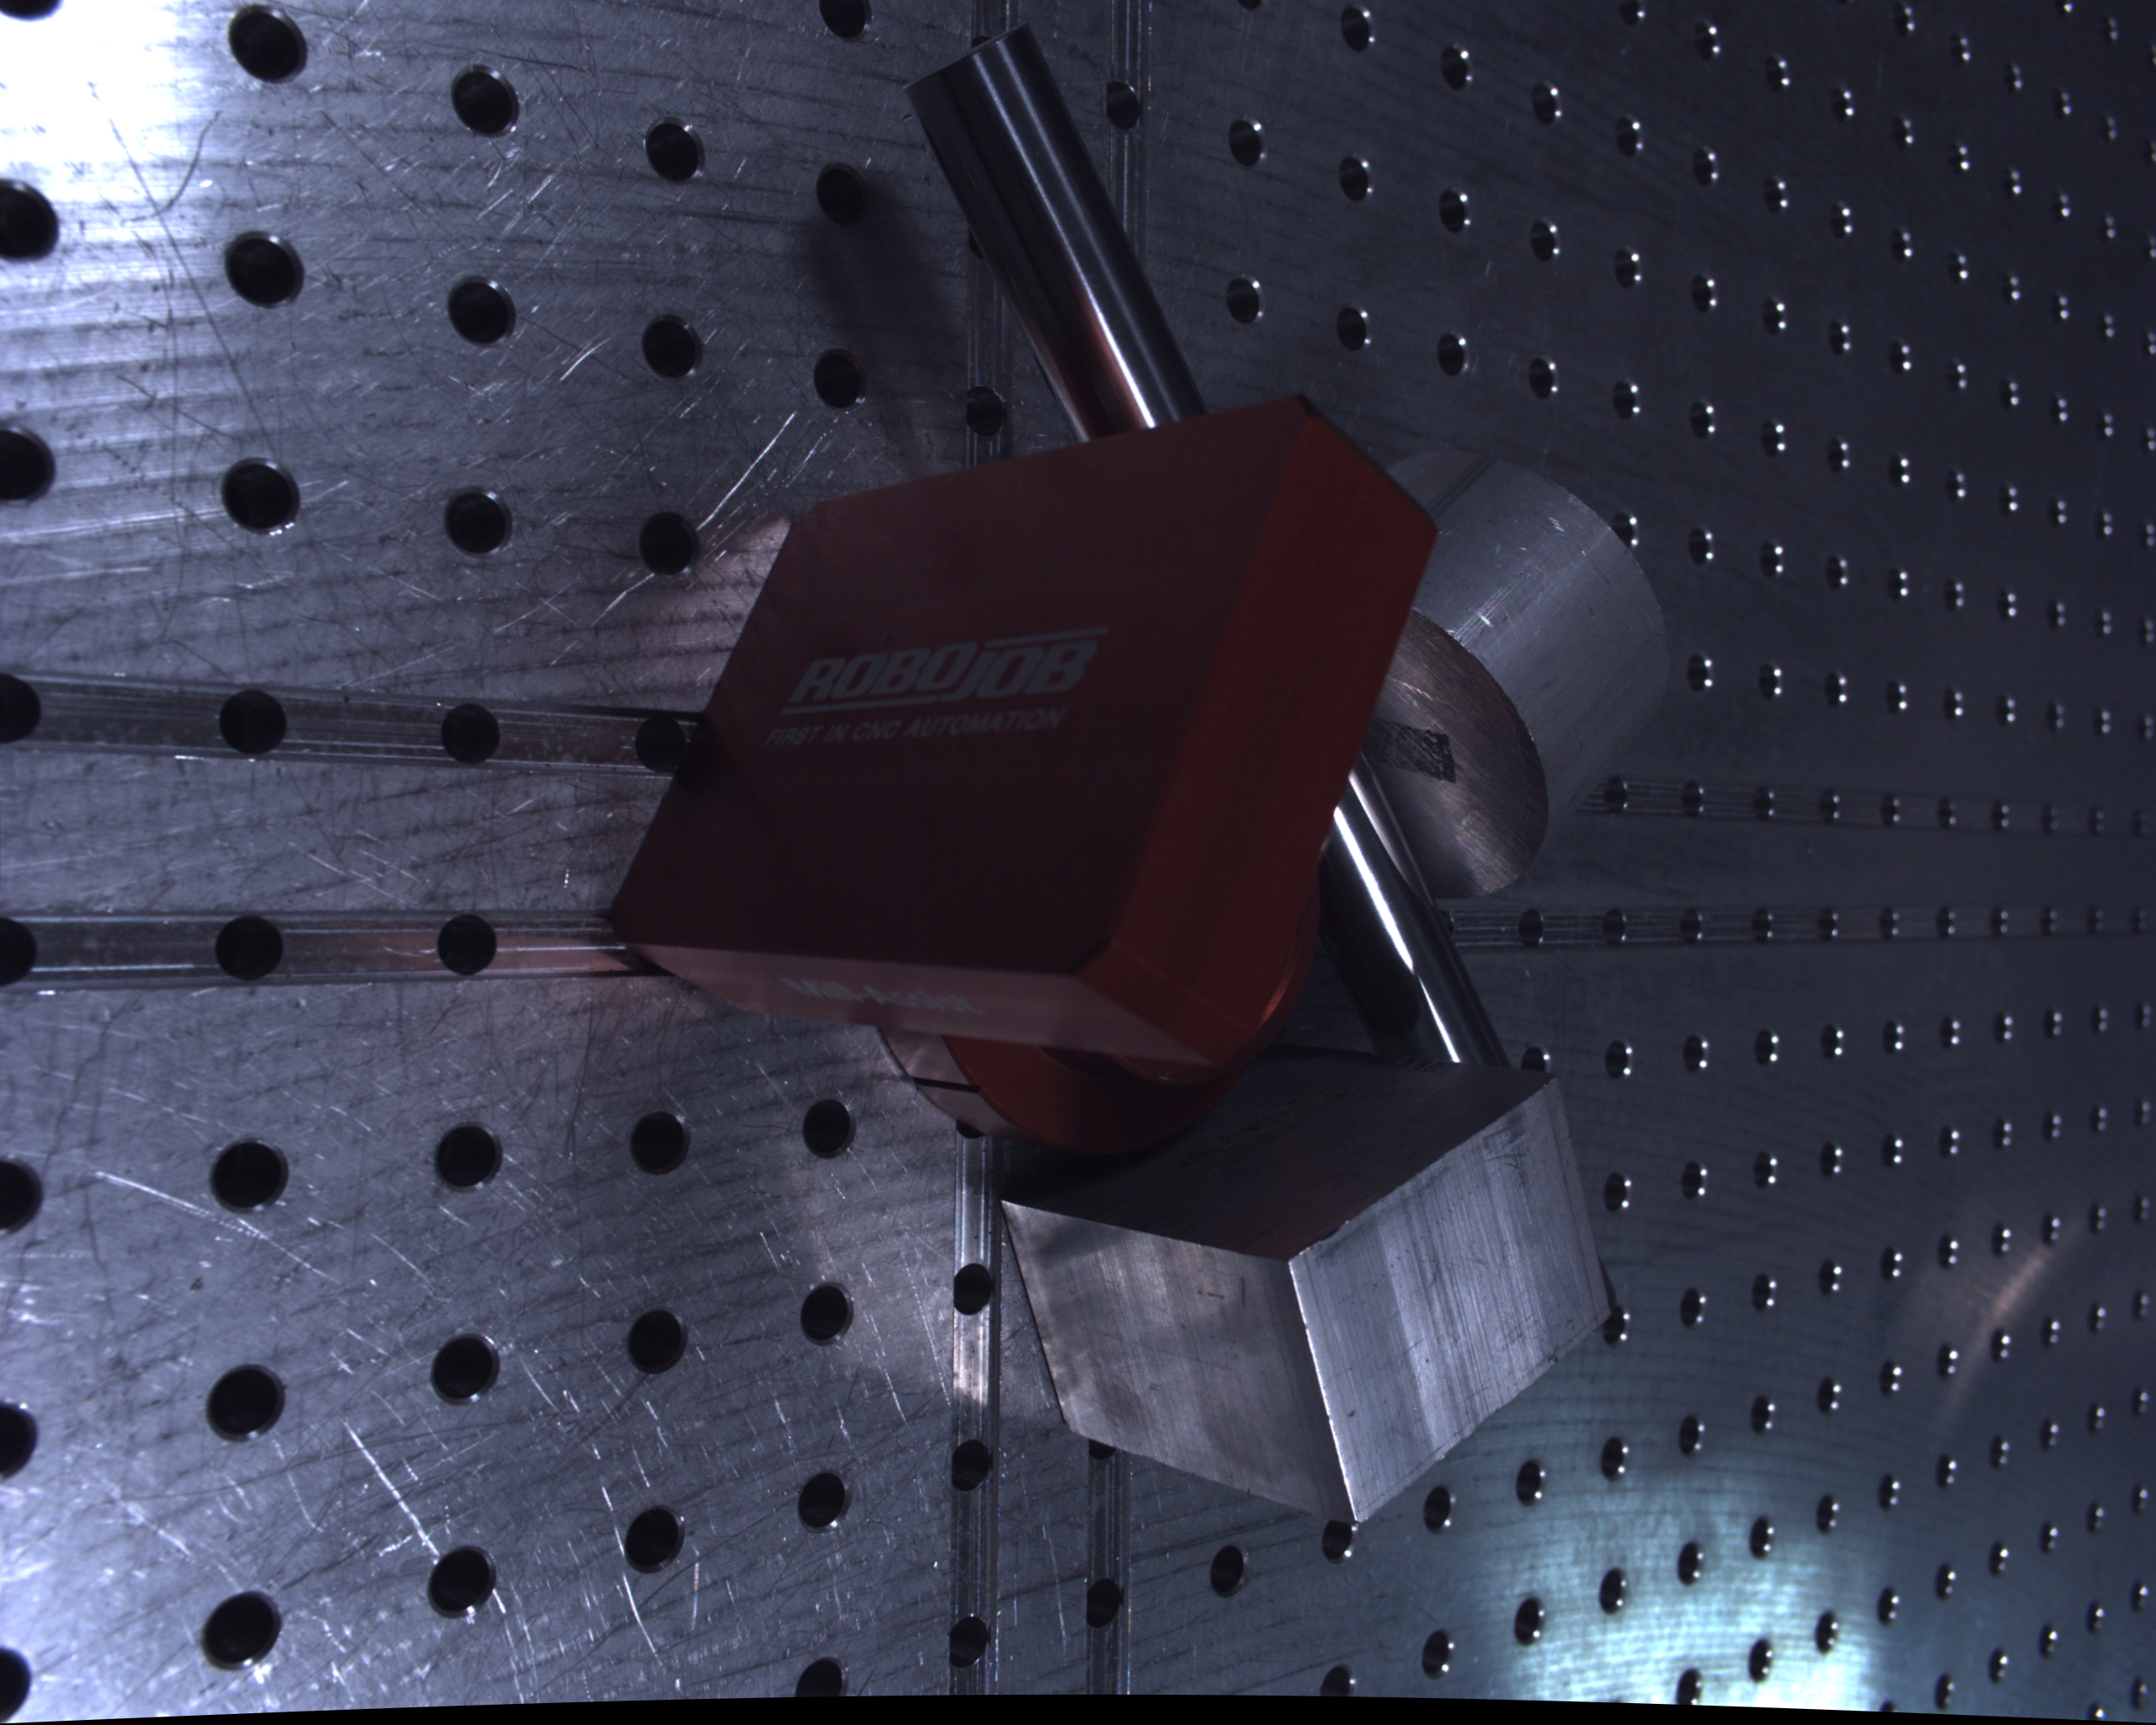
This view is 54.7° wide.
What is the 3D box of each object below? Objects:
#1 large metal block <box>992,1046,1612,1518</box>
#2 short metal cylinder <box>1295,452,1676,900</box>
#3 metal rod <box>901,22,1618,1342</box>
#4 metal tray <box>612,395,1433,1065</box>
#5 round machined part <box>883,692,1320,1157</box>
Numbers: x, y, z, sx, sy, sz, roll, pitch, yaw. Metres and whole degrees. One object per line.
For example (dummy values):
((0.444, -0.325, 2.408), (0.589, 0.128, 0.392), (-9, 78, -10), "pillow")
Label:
((0.044, 0.077, 0.413), (0.081, 0.080, 0.050), (-25, 106, -38), "large metal block")
((0.077, -0.039, 0.439), (0.050, 0.080, 0.080), (-45, 117, -31), "short metal cylinder")
((0.046, -0.020, 0.422), (0.025, 0.025, 0.299), (-43, 116, -32), "metal rod")
((-0.014, -0.019, 0.331), (0.030, 0.130, 0.090), (34, 69, -35), "metal tray")
((0.009, 0.009, 0.407), (0.099, 0.042, 0.097), (0, 90, -40), "round machined part")
